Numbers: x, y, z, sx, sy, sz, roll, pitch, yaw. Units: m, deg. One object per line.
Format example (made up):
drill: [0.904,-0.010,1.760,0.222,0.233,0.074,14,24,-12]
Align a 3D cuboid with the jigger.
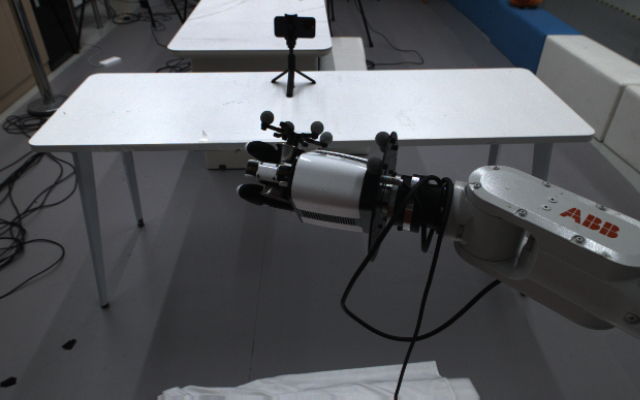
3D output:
jigger: [-0.044,-0.034,0.619,0.043,0.071,0.043,15,-7,2]
